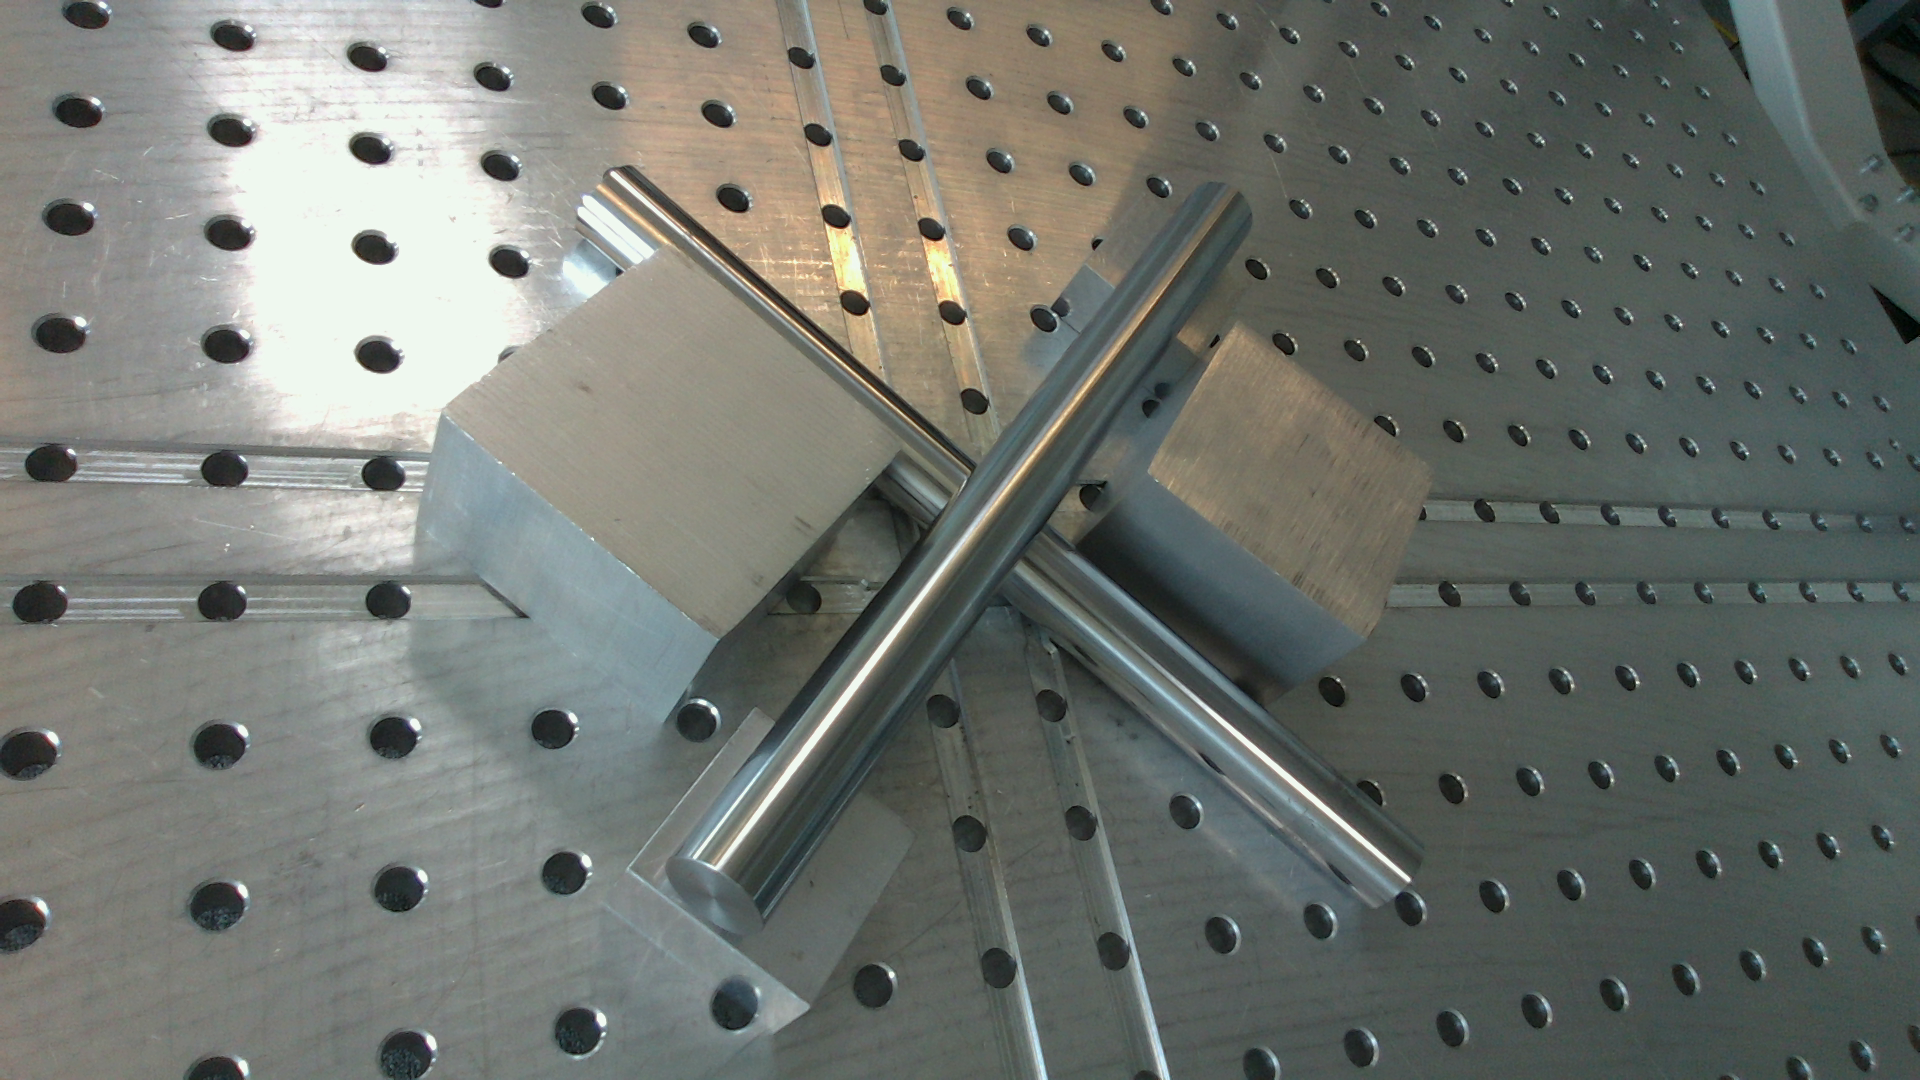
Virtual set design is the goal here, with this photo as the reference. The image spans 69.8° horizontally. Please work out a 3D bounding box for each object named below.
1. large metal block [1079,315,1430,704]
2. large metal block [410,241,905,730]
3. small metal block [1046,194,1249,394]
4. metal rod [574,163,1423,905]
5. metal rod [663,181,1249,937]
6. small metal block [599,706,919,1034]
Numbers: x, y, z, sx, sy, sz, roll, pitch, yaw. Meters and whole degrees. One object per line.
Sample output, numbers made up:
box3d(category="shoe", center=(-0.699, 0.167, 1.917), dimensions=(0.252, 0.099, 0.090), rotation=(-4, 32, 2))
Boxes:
box3d(category="large metal block", center=(0.090, -0.009, 0.431), dimensions=(0.080, 0.050, 0.080), rotation=(37, 51, -3))
box3d(category="large metal block", center=(-0.075, -0.015, 0.345), dimensions=(0.080, 0.050, 0.080), rotation=(40, 51, -1))
box3d(category="small metal block", center=(0.066, -0.085, 0.481), dimensions=(0.050, 0.025, 0.050), rotation=(39, 51, -2))
box3d(category="metal rod", center=(0.012, -0.001, 0.398), dimensions=(0.300, 0.025, 0.025), rotation=(40, 51, -1))
box3d(category="metal rod", center=(0.018, -0.019, 0.381), dimensions=(0.025, 0.025, 0.301), rotation=(38, 51, -2))
box3d(category="small metal block", center=(-0.046, 0.076, 0.321), dimensions=(0.050, 0.025, 0.050), rotation=(38, 51, -2))
